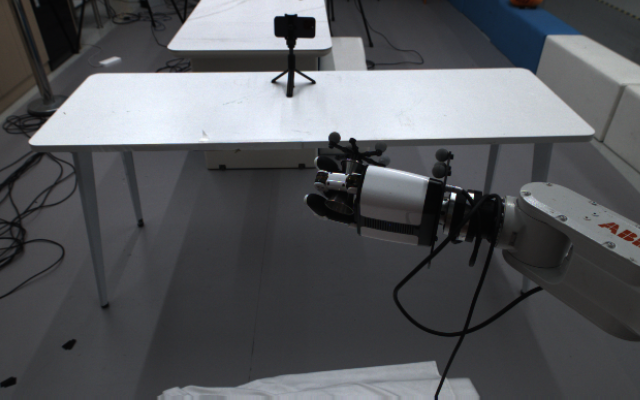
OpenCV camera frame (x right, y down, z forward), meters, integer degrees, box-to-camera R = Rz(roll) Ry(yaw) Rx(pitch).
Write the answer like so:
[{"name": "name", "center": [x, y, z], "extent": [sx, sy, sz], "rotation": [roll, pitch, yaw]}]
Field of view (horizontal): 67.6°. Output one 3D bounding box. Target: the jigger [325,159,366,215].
[{"name": "jigger", "center": [0.040, -0.019, 0.682], "extent": [0.043, 0.043, 0.071], "rotation": [13, 70, 16]}]
